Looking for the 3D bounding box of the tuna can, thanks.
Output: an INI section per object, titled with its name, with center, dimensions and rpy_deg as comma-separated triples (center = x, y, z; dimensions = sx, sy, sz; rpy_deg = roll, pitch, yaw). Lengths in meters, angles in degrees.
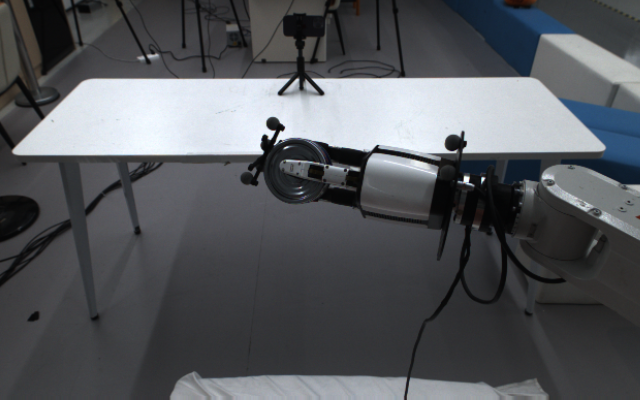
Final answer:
[tuna can]
center = -0.025, -0.034, 0.624
dimensions = 0.085, 0.085, 0.034
rpy_deg = 8, 5, 9
